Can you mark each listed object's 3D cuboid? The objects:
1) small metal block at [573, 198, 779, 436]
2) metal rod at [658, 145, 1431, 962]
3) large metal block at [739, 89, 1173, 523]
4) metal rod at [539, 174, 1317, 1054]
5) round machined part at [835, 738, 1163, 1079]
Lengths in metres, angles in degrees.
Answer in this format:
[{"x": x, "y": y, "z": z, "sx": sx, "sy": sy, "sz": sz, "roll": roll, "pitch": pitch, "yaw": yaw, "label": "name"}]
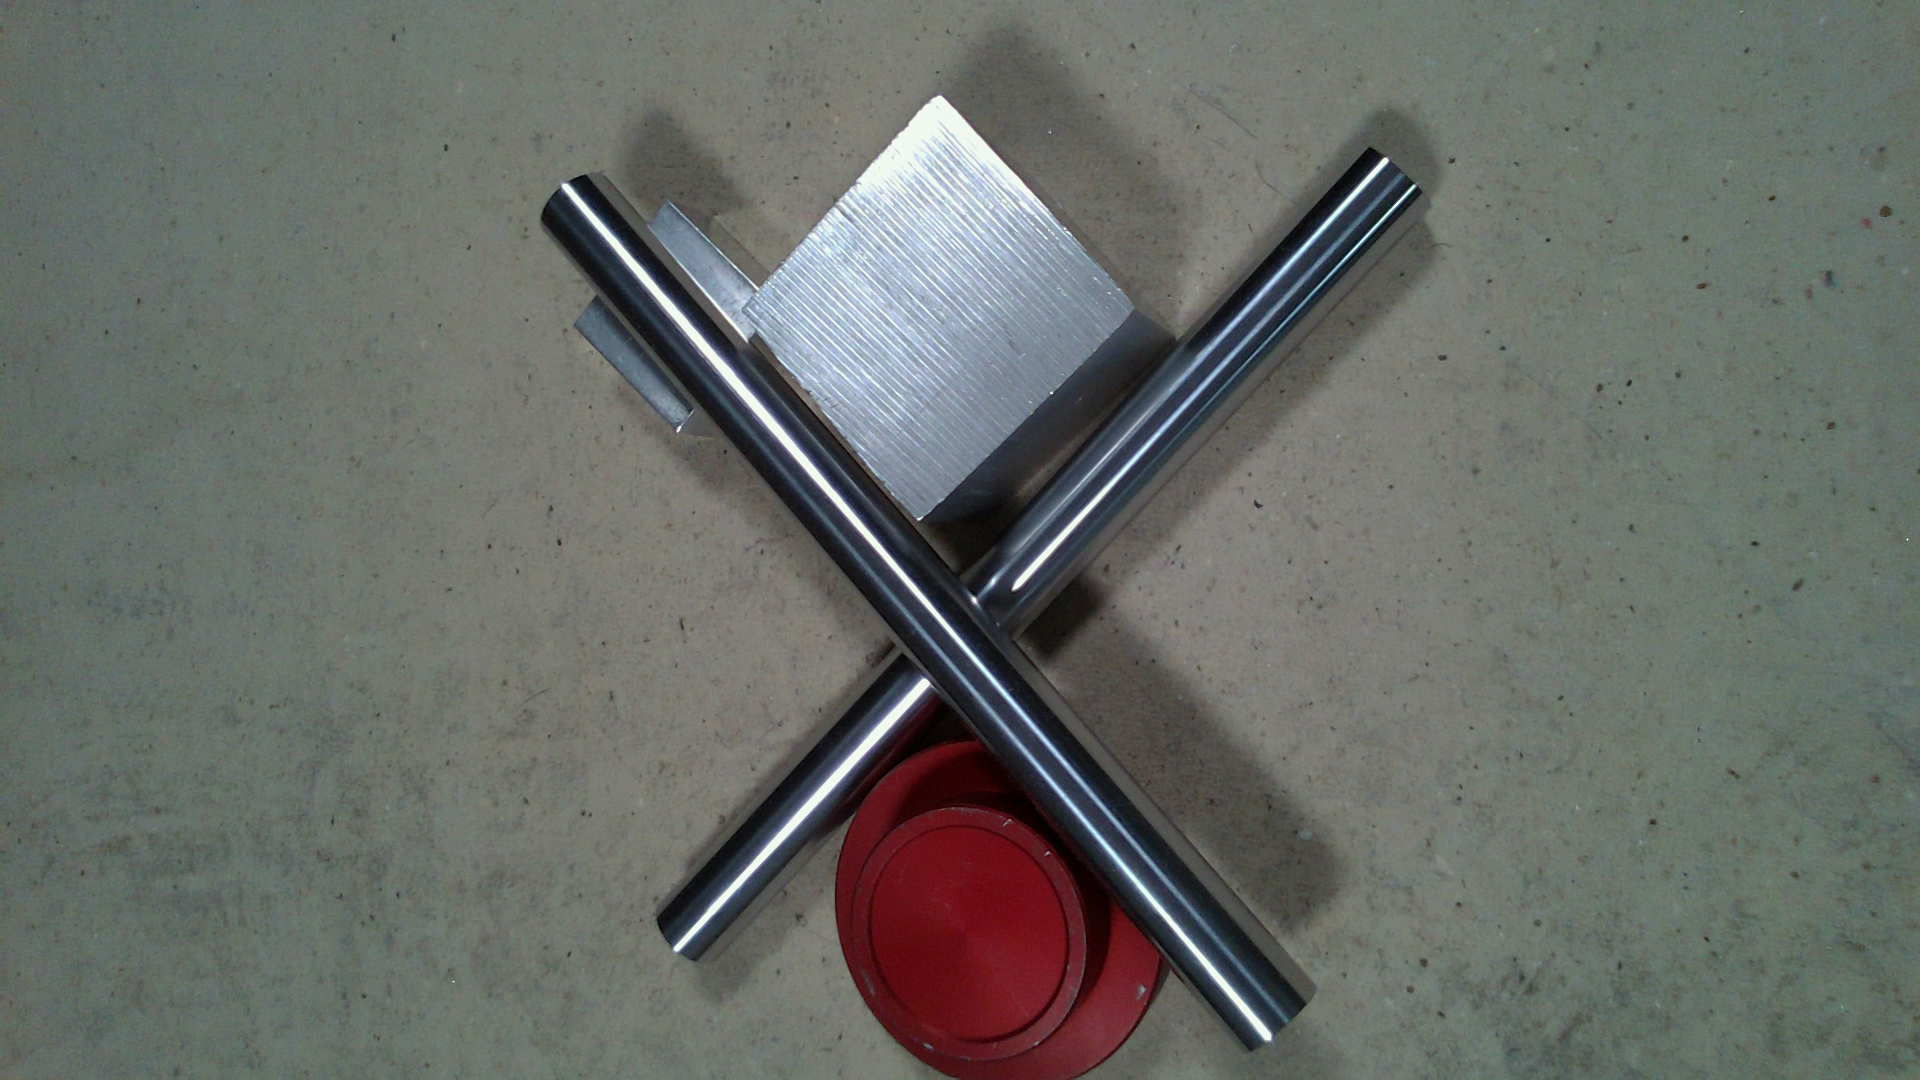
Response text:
[{"x": -0.083, "y": -0.068, "z": 0.427, "sx": 0.050, "sy": 0.025, "sz": 0.050, "roll": 45, "pitch": 104, "yaw": 14, "label": "small metal block"}, {"x": 0.015, "y": 0.013, "z": 0.392, "sx": 0.025, "sy": 0.025, "sz": 0.300, "roll": 46, "pitch": 104, "yaw": 14, "label": "metal rod"}, {"x": 0.001, "y": -0.061, "z": 0.384, "sx": 0.080, "sy": 0.050, "sz": 0.080, "roll": -44, "pitch": 76, "yaw": 15, "label": "large metal block"}, {"x": -0.018, "y": 0.010, "z": 0.375, "sx": 0.025, "sy": 0.025, "sz": 0.300, "roll": -45, "pitch": 76, "yaw": 14, "label": "metal rod"}, {"x": 0.009, "y": 0.104, "z": 0.383, "sx": 0.098, "sy": 0.042, "sz": 0.098, "roll": 0, "pitch": 90, "yaw": 20, "label": "round machined part"}]
